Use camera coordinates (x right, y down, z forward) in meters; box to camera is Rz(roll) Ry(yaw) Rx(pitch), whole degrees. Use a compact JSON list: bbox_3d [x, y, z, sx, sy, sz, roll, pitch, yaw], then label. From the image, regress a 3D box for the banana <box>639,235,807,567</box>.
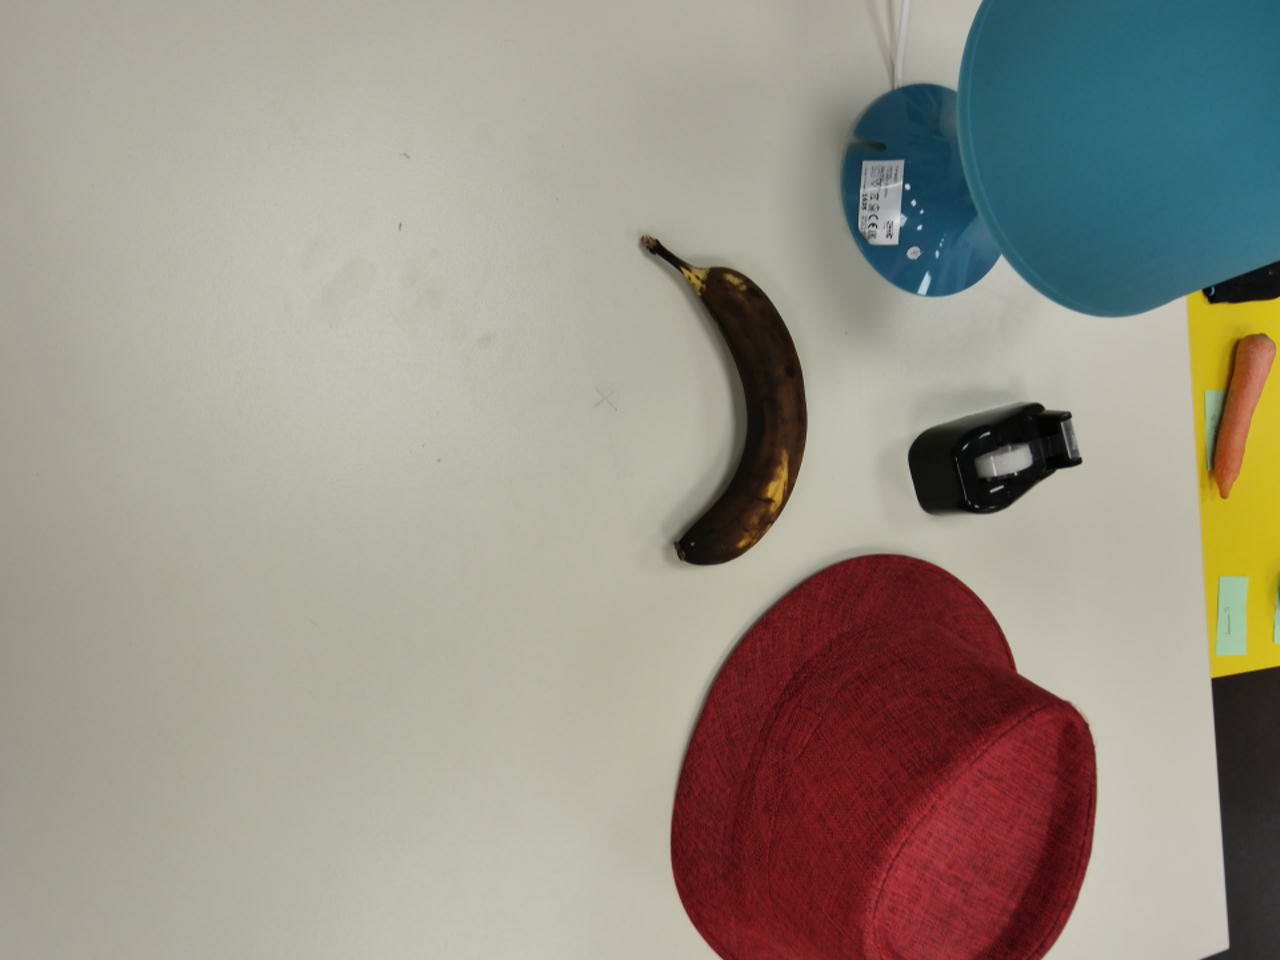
[{"bbox_3d":[0.054,-0.047,0.570,0.091,0.034,0.188,-6,93,-22],"label":"banana"}]
